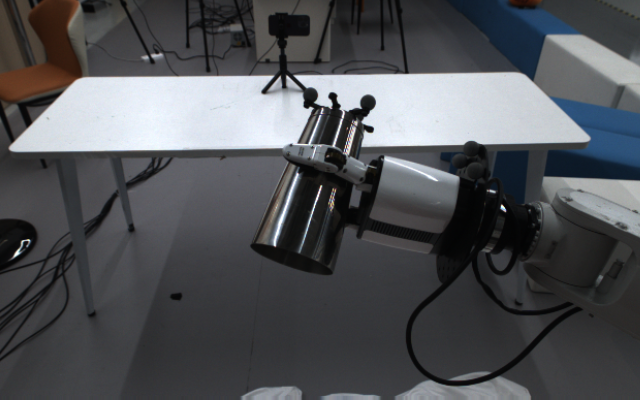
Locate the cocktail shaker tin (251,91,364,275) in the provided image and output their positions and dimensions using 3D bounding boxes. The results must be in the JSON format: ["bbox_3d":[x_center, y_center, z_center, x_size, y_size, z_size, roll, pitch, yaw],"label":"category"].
[{"bbox_3d":[-0.005,-0.014,0.532,0.093,0.093,0.170,13,70,15],"label":"cocktail shaker tin"}]
